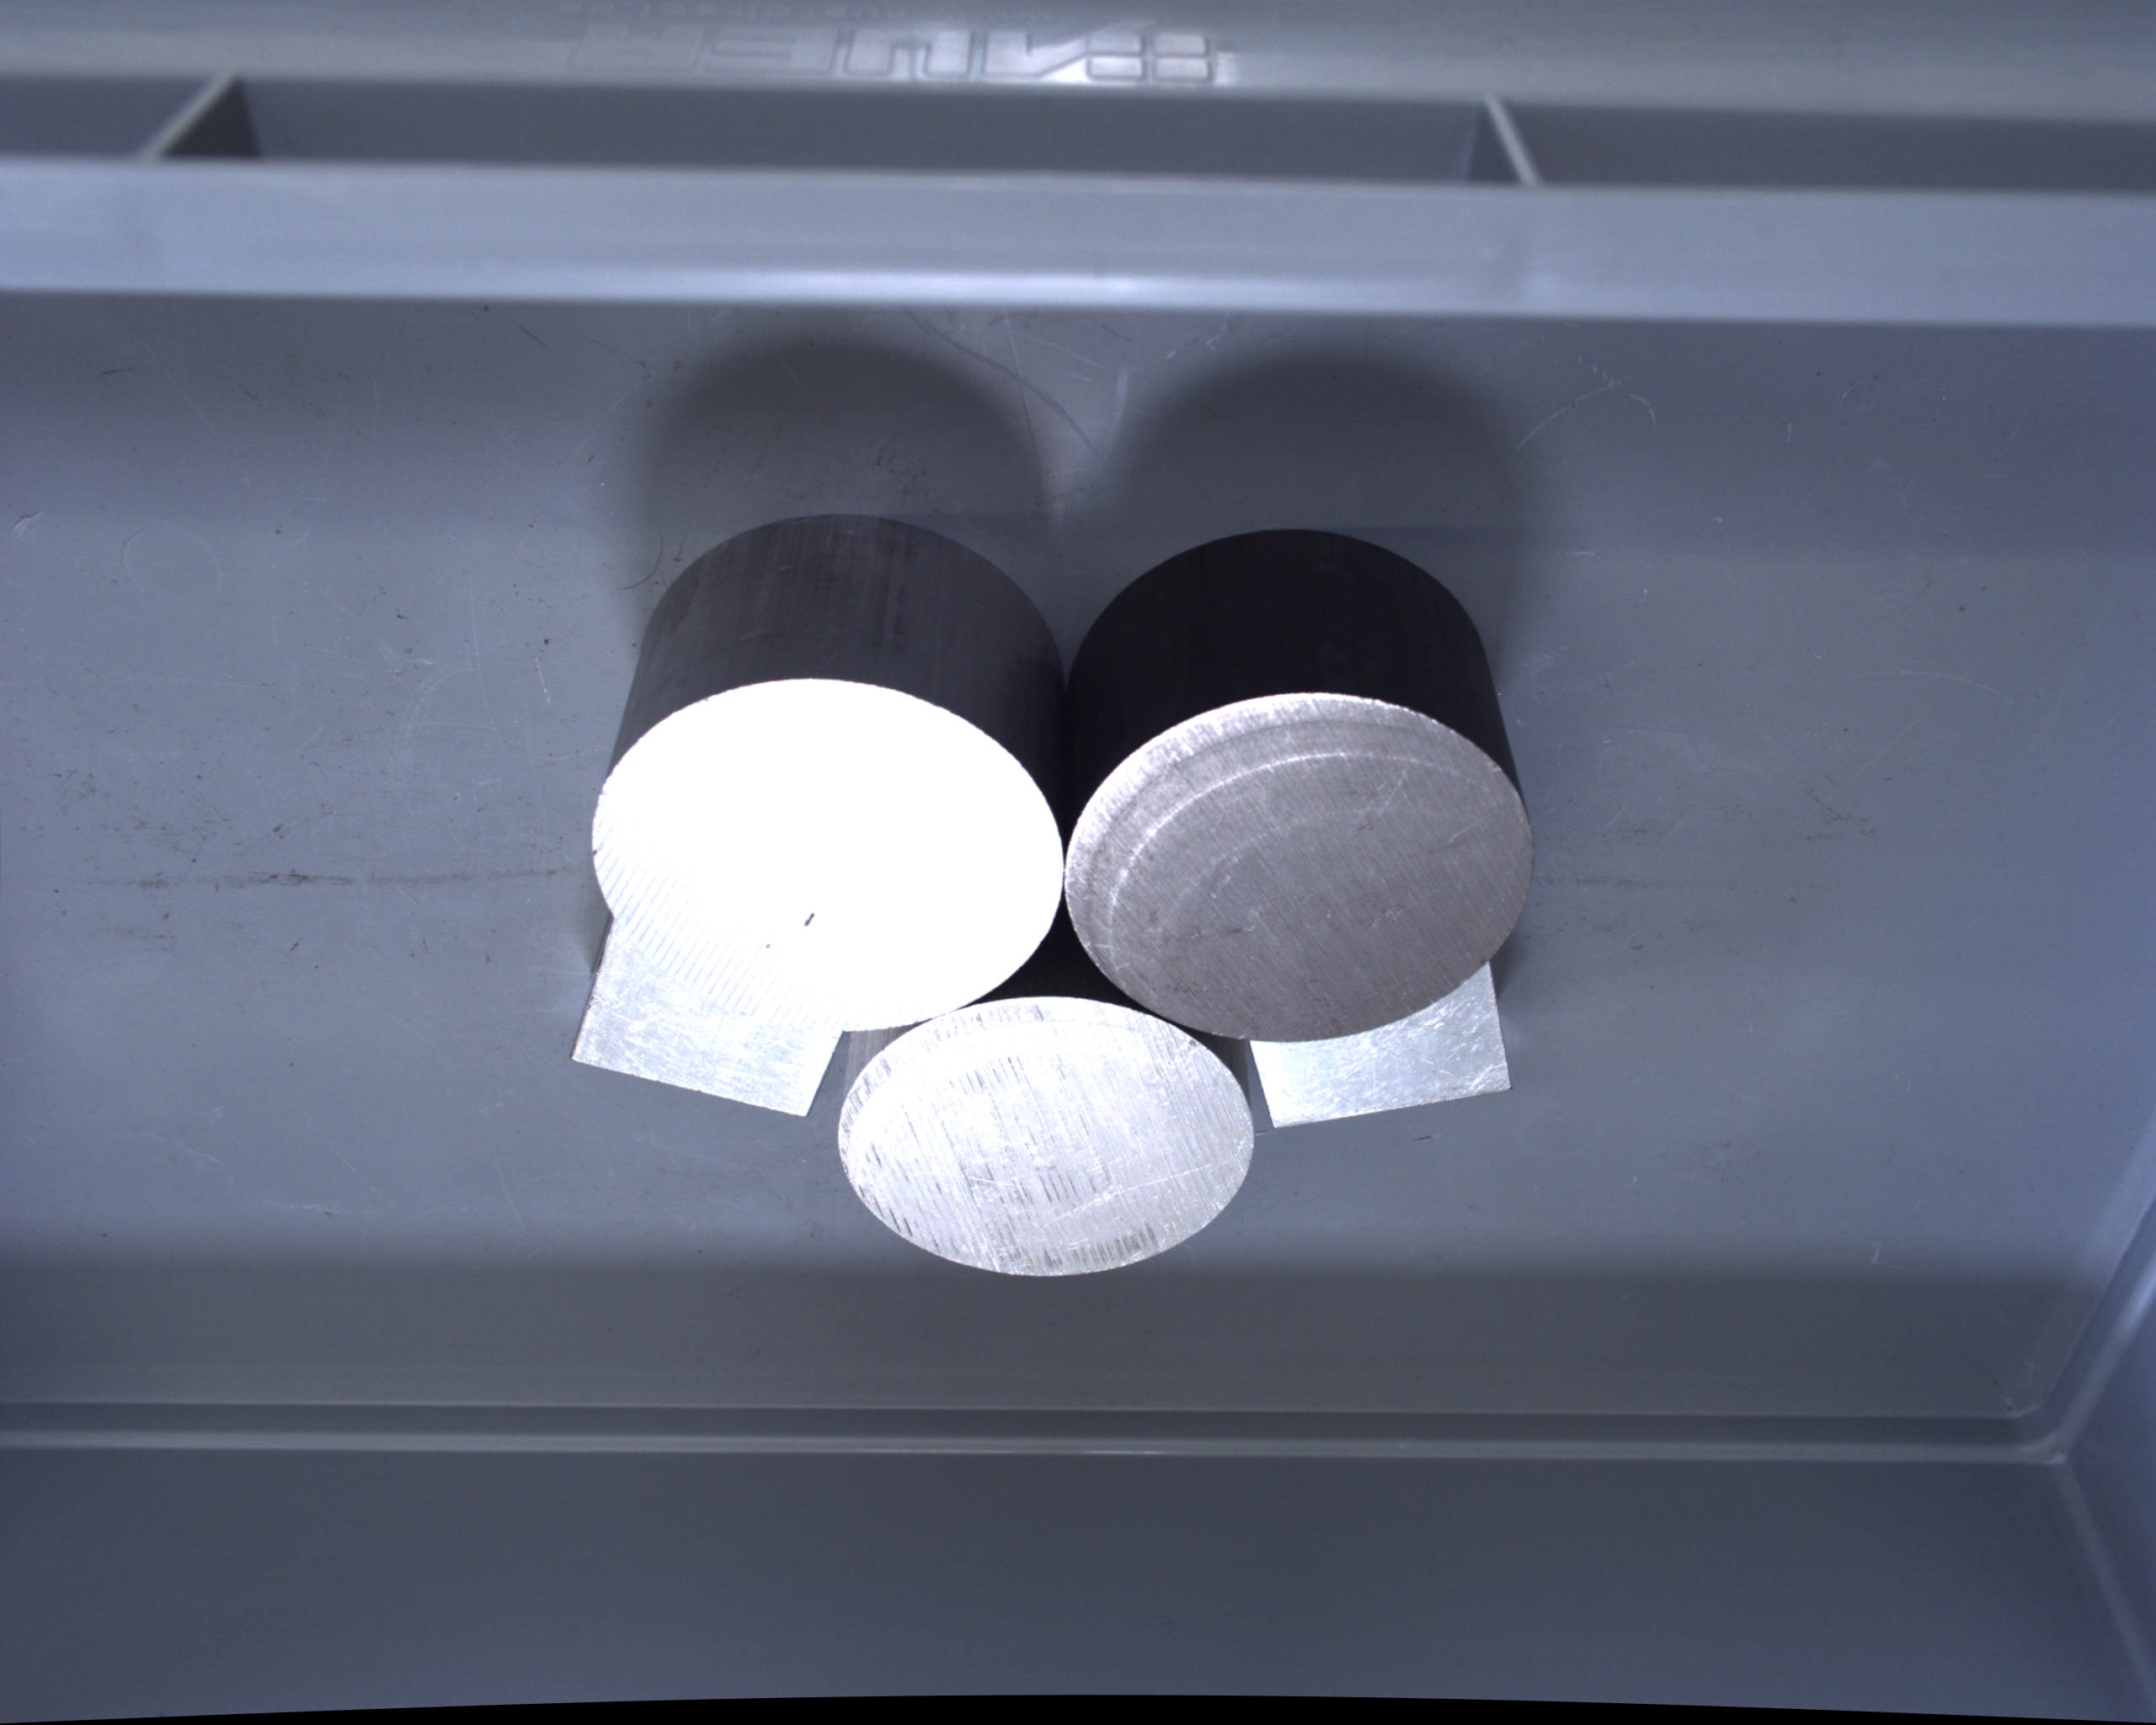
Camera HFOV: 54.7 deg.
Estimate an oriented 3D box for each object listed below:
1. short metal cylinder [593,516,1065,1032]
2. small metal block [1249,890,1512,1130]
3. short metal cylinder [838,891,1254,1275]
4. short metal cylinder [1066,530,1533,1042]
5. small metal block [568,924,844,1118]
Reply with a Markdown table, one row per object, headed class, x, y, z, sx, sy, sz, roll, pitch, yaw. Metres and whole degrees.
| class | x | y | z | sx | sy | sz | roll | pitch | yaw |
| --- | --- | --- | --- | --- | --- | --- | --- | --- | --- |
| short metal cylinder | -0.043 | -0.015 | 0.377 | 0.081 | 0.050 | 0.079 | 0 | 130 | 0 |
| small metal block | 0.059 | 0.025 | 0.430 | 0.050 | 0.025 | 0.050 | -11 | 130 | 9 |
| short metal cylinder | -0.006 | 0.039 | 0.423 | 0.081 | 0.050 | 0.079 | 0 | 130 | 0 |
| short metal cylinder | 0.038 | -0.013 | 0.380 | 0.081 | 0.050 | 0.079 | 0 | 130 | 0 |
| small metal block | -0.071 | 0.021 | 0.424 | 0.050 | 0.025 | 0.050 | 16 | 128 | -14 |
